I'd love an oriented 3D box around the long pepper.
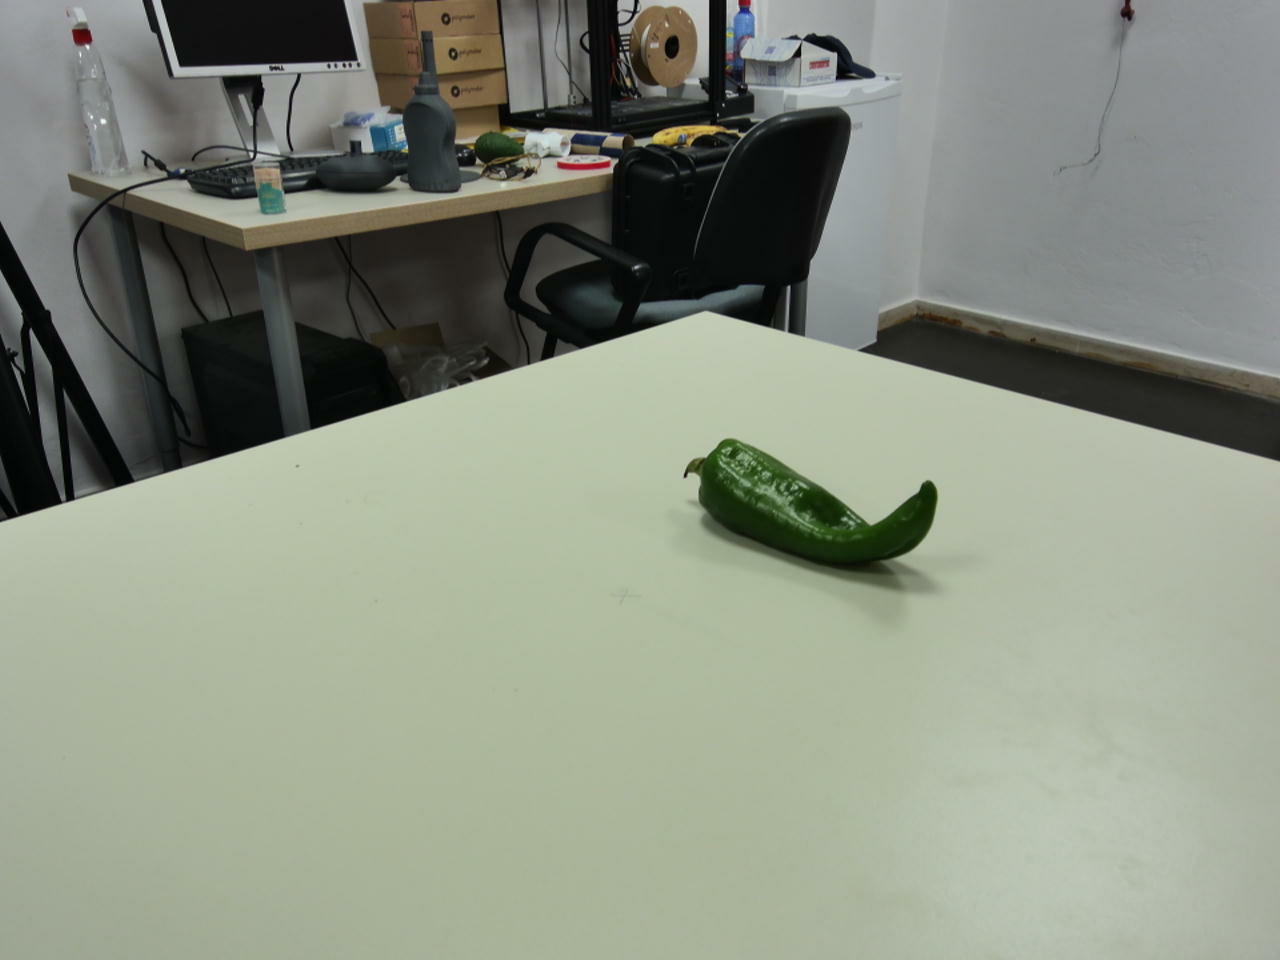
[{"bbox_3d":[0.094,0.009,0.610,0.058,0.065,0.175,-21,32,-39],"label":"long pepper"}]
